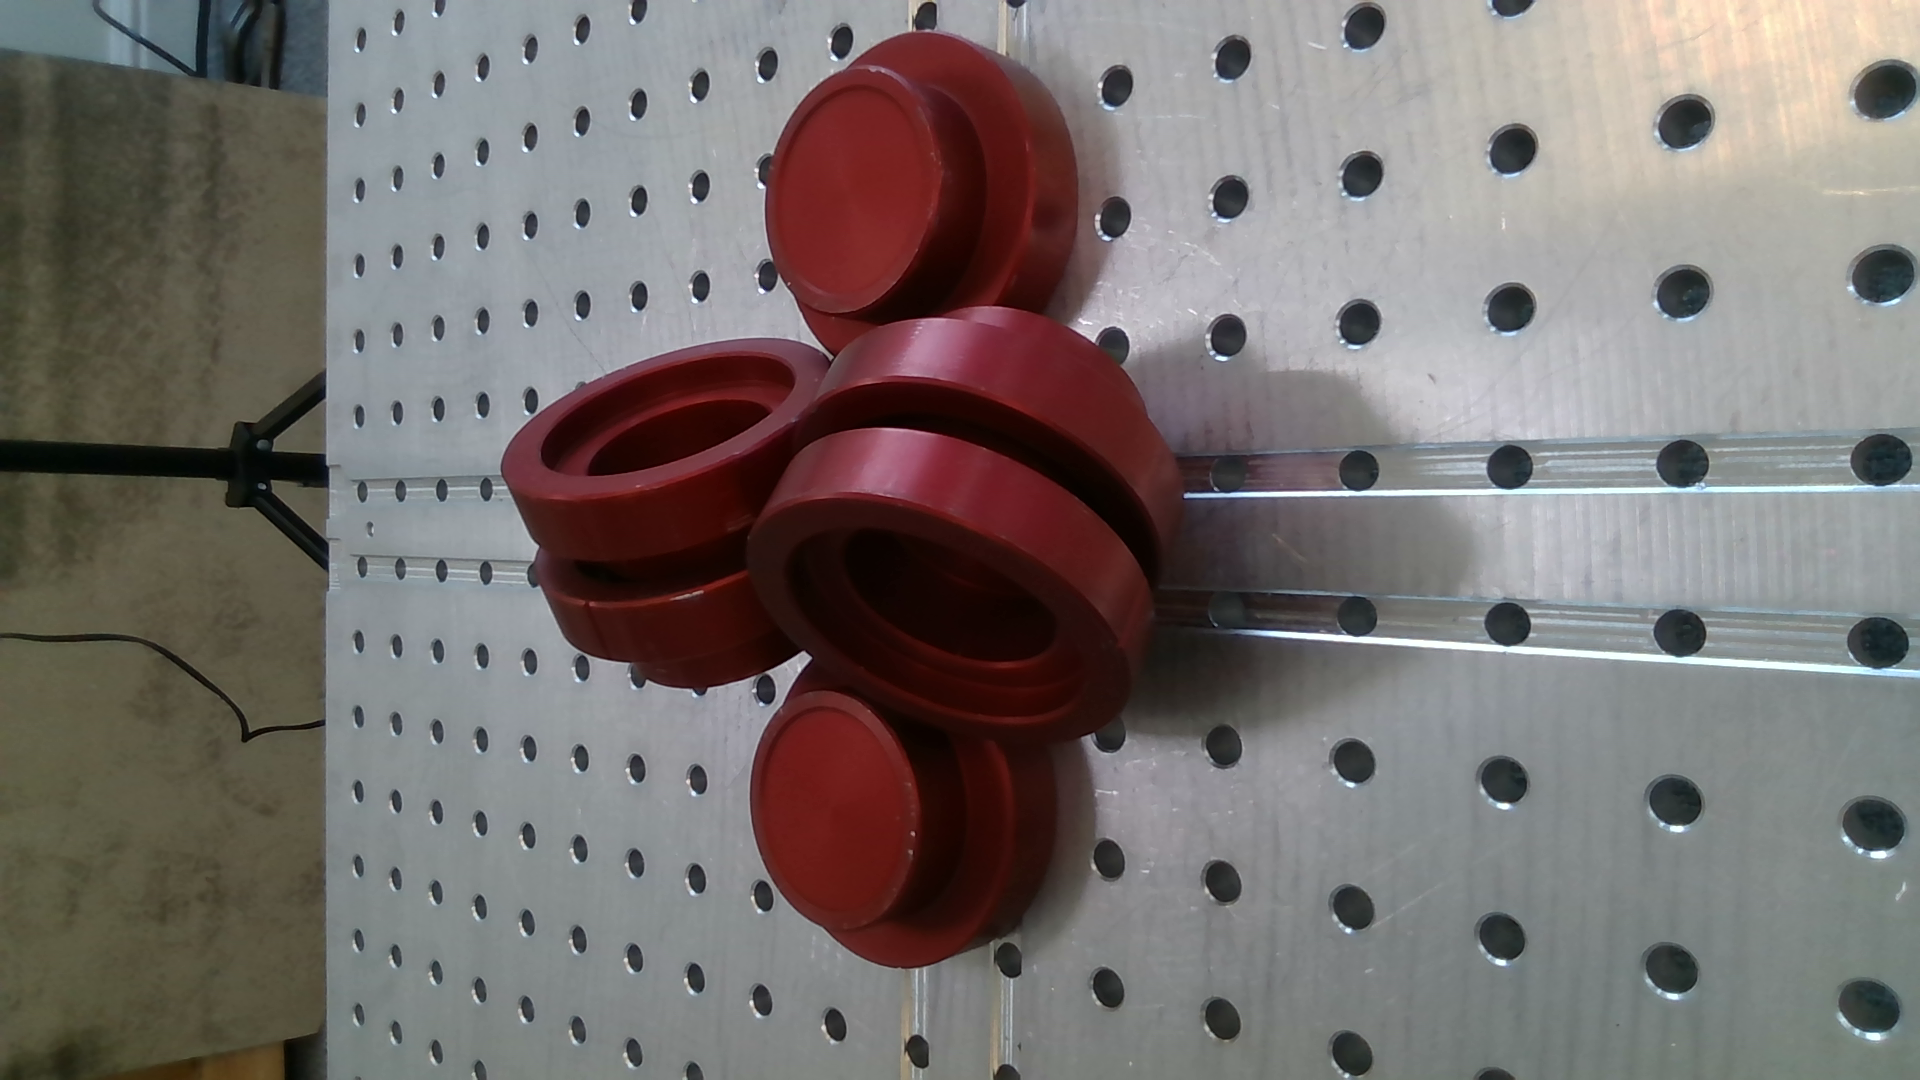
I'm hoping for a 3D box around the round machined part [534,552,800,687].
[{"bbox_3d":[-0.075,0.008,0.421,0.098,0.098,0.042,13,130,39],"label":"round machined part"}]

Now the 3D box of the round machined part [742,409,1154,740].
[{"bbox_3d":[0.000,0.005,0.337,0.098,0.098,0.042,-8,46,40],"label":"round machined part"}]

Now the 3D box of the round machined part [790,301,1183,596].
[{"bbox_3d":[0.010,-0.022,0.352,0.098,0.098,0.042,-8,46,40],"label":"round machined part"}]

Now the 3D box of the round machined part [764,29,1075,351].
[{"bbox_3d":[-0.018,-0.097,0.396,0.098,0.042,0.098,0,91,40],"label":"round machined part"}]

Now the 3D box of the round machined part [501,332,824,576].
[{"bbox_3d":[-0.080,-0.021,0.407,0.098,0.098,0.042,12,130,40],"label":"round machined part"}]

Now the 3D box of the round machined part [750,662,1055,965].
[{"bbox_3d":[-0.024,0.075,0.403,0.098,0.042,0.098,0,91,40],"label":"round machined part"}]
